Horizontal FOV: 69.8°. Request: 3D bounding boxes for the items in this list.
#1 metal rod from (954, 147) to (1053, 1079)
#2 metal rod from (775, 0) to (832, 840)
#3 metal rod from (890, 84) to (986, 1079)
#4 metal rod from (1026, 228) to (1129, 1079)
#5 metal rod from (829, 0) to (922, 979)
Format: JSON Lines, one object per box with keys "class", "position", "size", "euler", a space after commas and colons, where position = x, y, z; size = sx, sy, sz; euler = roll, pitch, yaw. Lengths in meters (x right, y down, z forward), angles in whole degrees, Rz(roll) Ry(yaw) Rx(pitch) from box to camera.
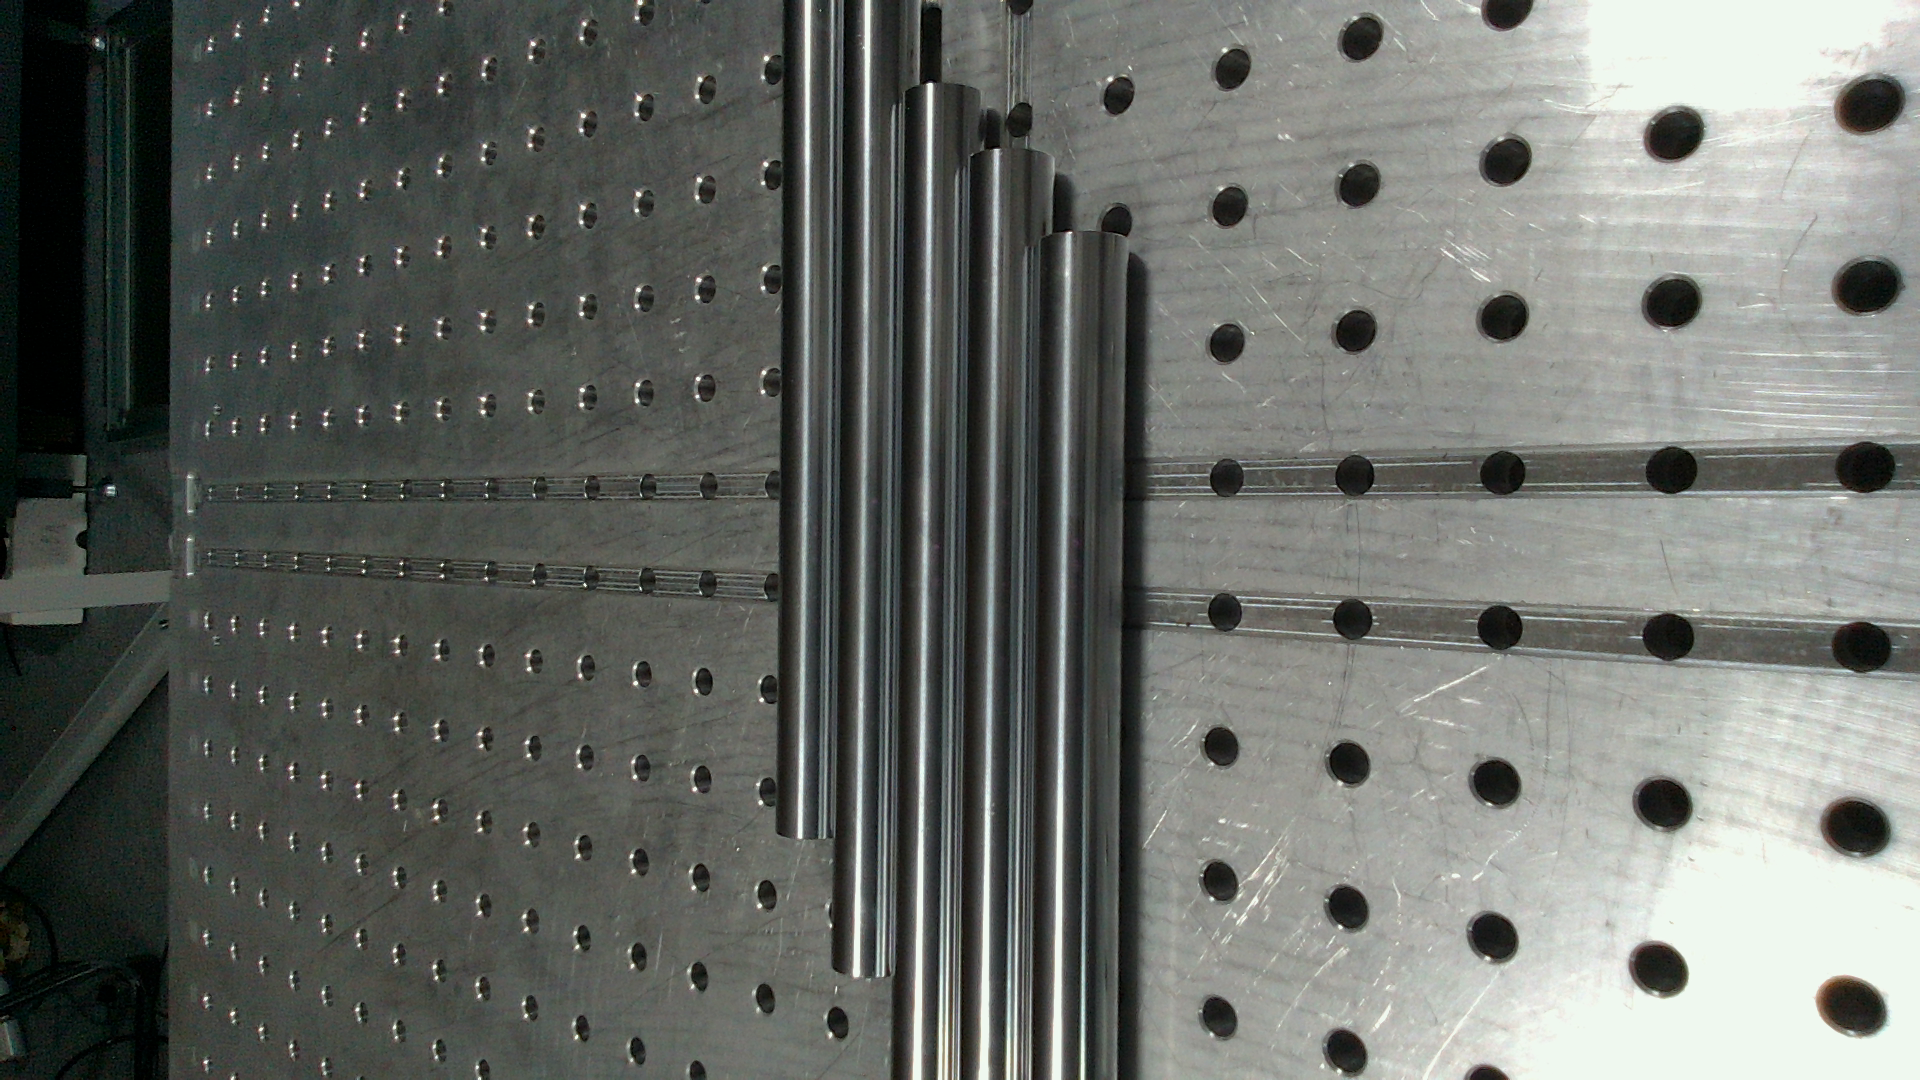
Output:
{"class": "metal rod", "position": [0.012, 0.043, 0.387], "size": [0.025, 0.025, 0.300], "euler": [1, 91, 40]}
{"class": "metal rod", "position": [-0.045, -0.058, 0.435], "size": [0.025, 0.025, 0.300], "euler": [1, 91, 40]}
{"class": "metal rod", "position": [-0.007, 0.021, 0.403], "size": [0.025, 0.025, 0.300], "euler": [1, 91, 40]}
{"class": "metal rod", "position": [0.031, 0.069, 0.371], "size": [0.025, 0.025, 0.300], "euler": [1, 91, 40]}
{"class": "metal rod", "position": [-0.026, -0.020, 0.418], "size": [0.025, 0.025, 0.300], "euler": [1, 91, 40]}
